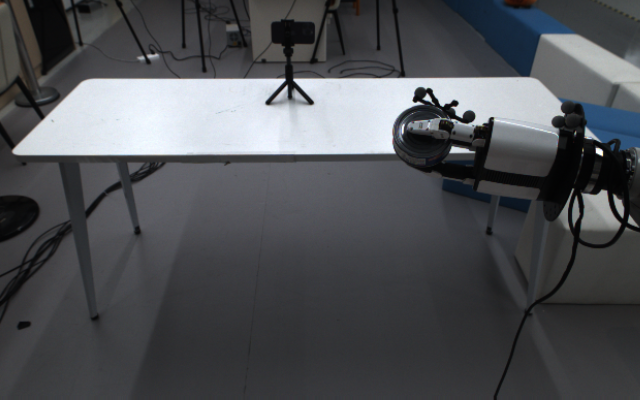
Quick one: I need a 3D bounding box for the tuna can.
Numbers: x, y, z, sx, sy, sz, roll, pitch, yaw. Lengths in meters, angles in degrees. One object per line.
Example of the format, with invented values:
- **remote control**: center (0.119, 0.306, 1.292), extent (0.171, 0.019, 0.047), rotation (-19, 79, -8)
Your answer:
- **tuna can**: center (0.151, -0.087, 0.689), extent (0.085, 0.034, 0.085), rotation (-4, 69, 10)
